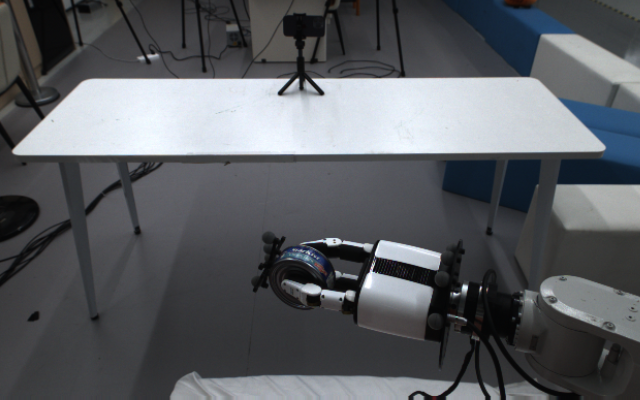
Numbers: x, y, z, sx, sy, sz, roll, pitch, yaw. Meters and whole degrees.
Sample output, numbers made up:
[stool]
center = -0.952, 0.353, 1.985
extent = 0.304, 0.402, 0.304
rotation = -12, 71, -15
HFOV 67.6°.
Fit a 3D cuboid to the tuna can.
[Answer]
[tuna can]
center = -0.021, 0.108, 0.643
extent = 0.085, 0.085, 0.034
rotation = 12, 30, 14
